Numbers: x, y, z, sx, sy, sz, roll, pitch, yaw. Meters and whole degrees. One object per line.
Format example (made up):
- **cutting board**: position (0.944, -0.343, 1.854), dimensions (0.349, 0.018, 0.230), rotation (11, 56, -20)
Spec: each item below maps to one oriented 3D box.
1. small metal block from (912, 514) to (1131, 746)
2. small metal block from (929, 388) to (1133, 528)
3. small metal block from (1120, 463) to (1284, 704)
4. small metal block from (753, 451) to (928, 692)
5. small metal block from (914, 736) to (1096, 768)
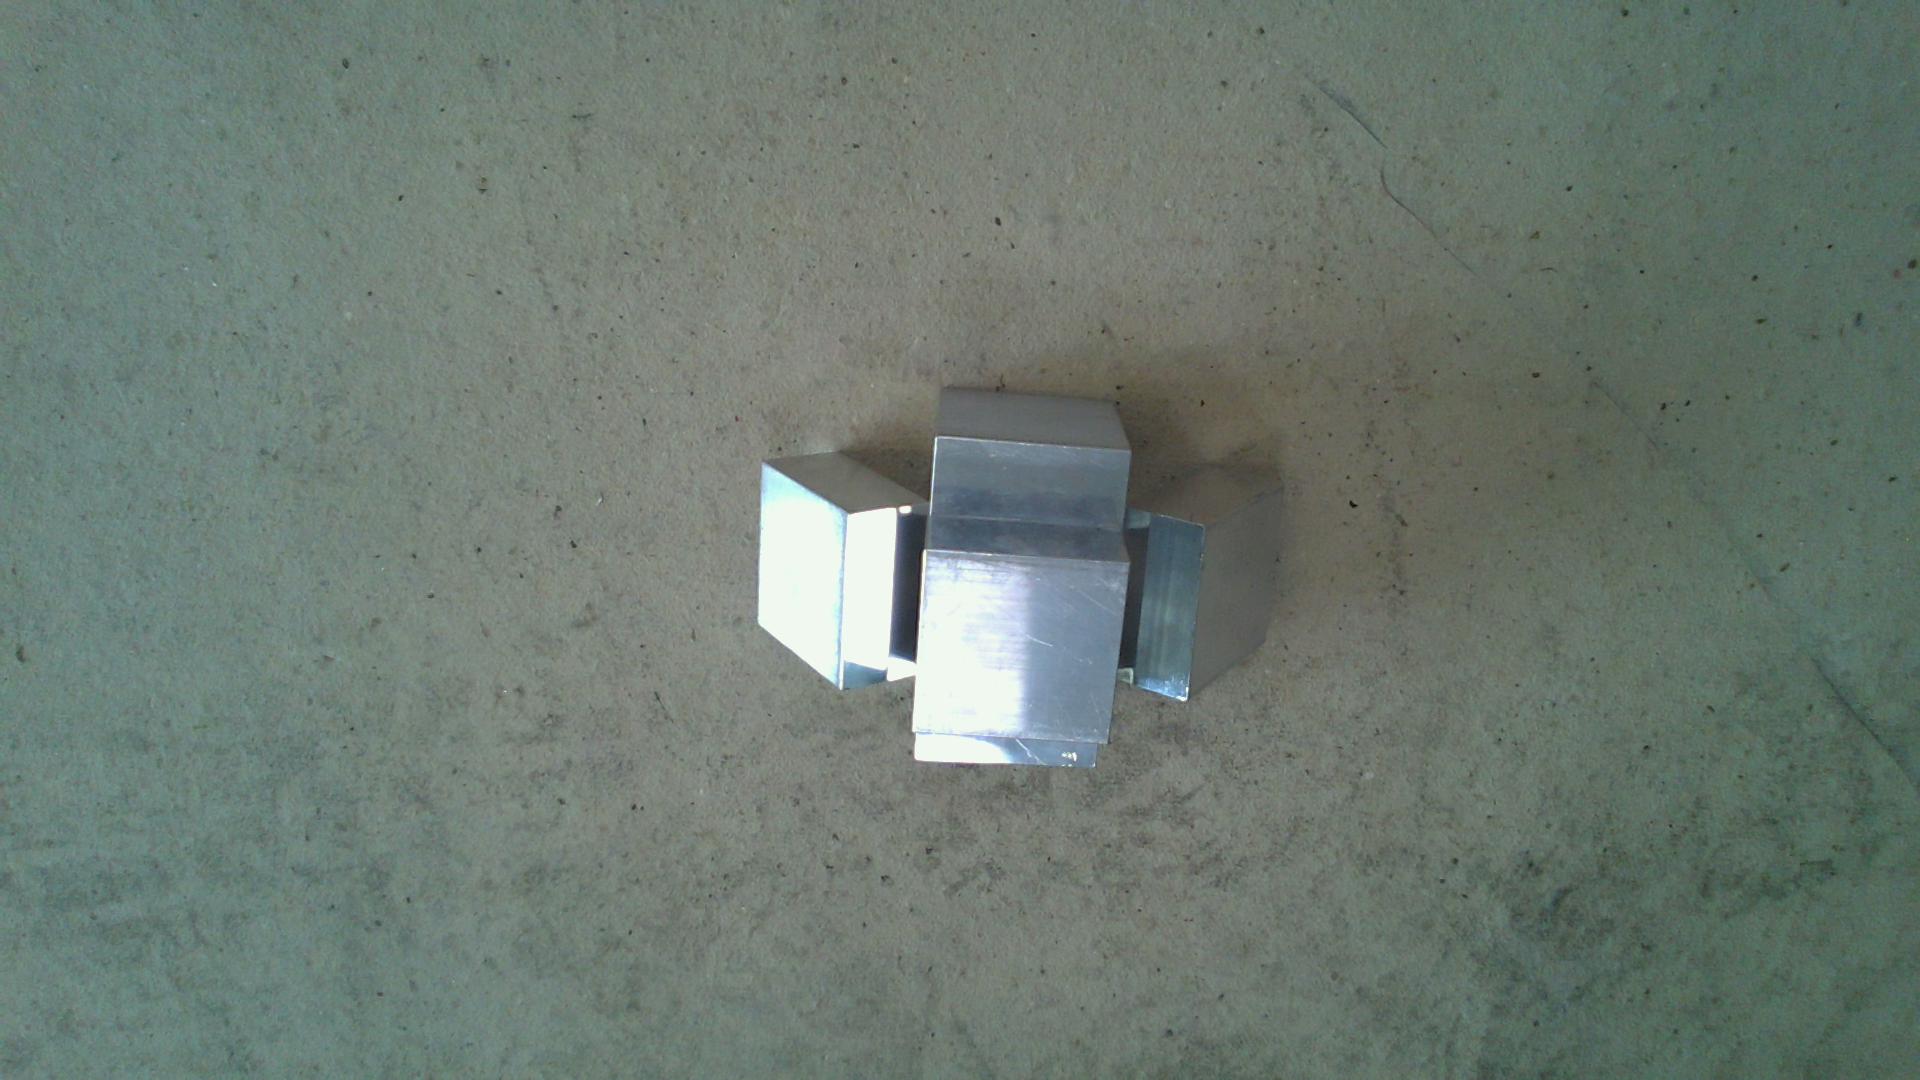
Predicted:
- **small metal block**: position (0.015, 0.023, 0.350), dimensions (0.050, 0.025, 0.050), rotation (4, 110, -1)
- **small metal block**: position (0.018, -0.022, 0.373), dimensions (0.050, 0.050, 0.025), rotation (4, 111, -2)
- **small metal block**: position (0.066, 0.011, 0.383), dimensions (0.025, 0.050, 0.050), rotation (16, 114, 32)
- **small metal block**: position (-0.034, 0.007, 0.381), dimensions (0.025, 0.050, 0.050), rotation (-10, 115, -34)
- **small metal block**: position (0.013, 0.041, 0.397), dimensions (0.050, 0.050, 0.025), rotation (3, 111, -1)
